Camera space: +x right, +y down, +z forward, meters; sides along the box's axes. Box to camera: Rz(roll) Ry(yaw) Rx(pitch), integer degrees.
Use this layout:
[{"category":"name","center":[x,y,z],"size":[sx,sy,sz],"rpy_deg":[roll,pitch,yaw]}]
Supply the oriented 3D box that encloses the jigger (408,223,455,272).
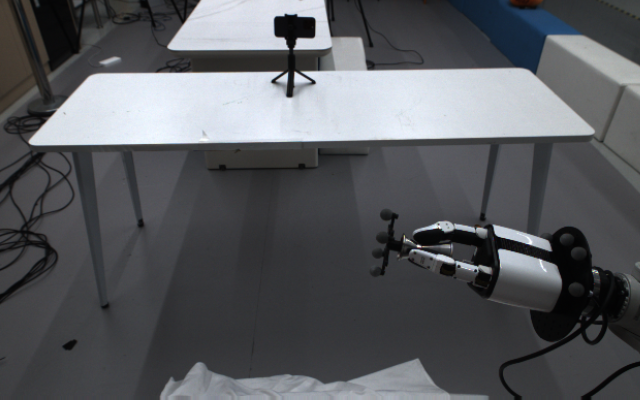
[{"category":"jigger","center":[0.151,0.069,0.673],"size":[0.071,0.043,0.043],"rpy_deg":[12,35,4]}]
